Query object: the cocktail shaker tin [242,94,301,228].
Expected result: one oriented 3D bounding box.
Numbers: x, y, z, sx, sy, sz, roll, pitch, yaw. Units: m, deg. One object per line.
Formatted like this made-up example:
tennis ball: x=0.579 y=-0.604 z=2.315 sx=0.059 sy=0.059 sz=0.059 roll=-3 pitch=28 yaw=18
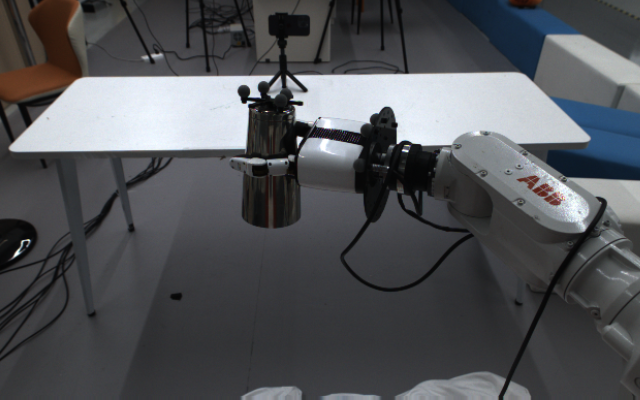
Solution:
cocktail shaker tin: x=-0.071 y=-0.055 z=0.715 sx=0.093 sy=0.170 sz=0.093 roll=2 pitch=26 yaw=-1
